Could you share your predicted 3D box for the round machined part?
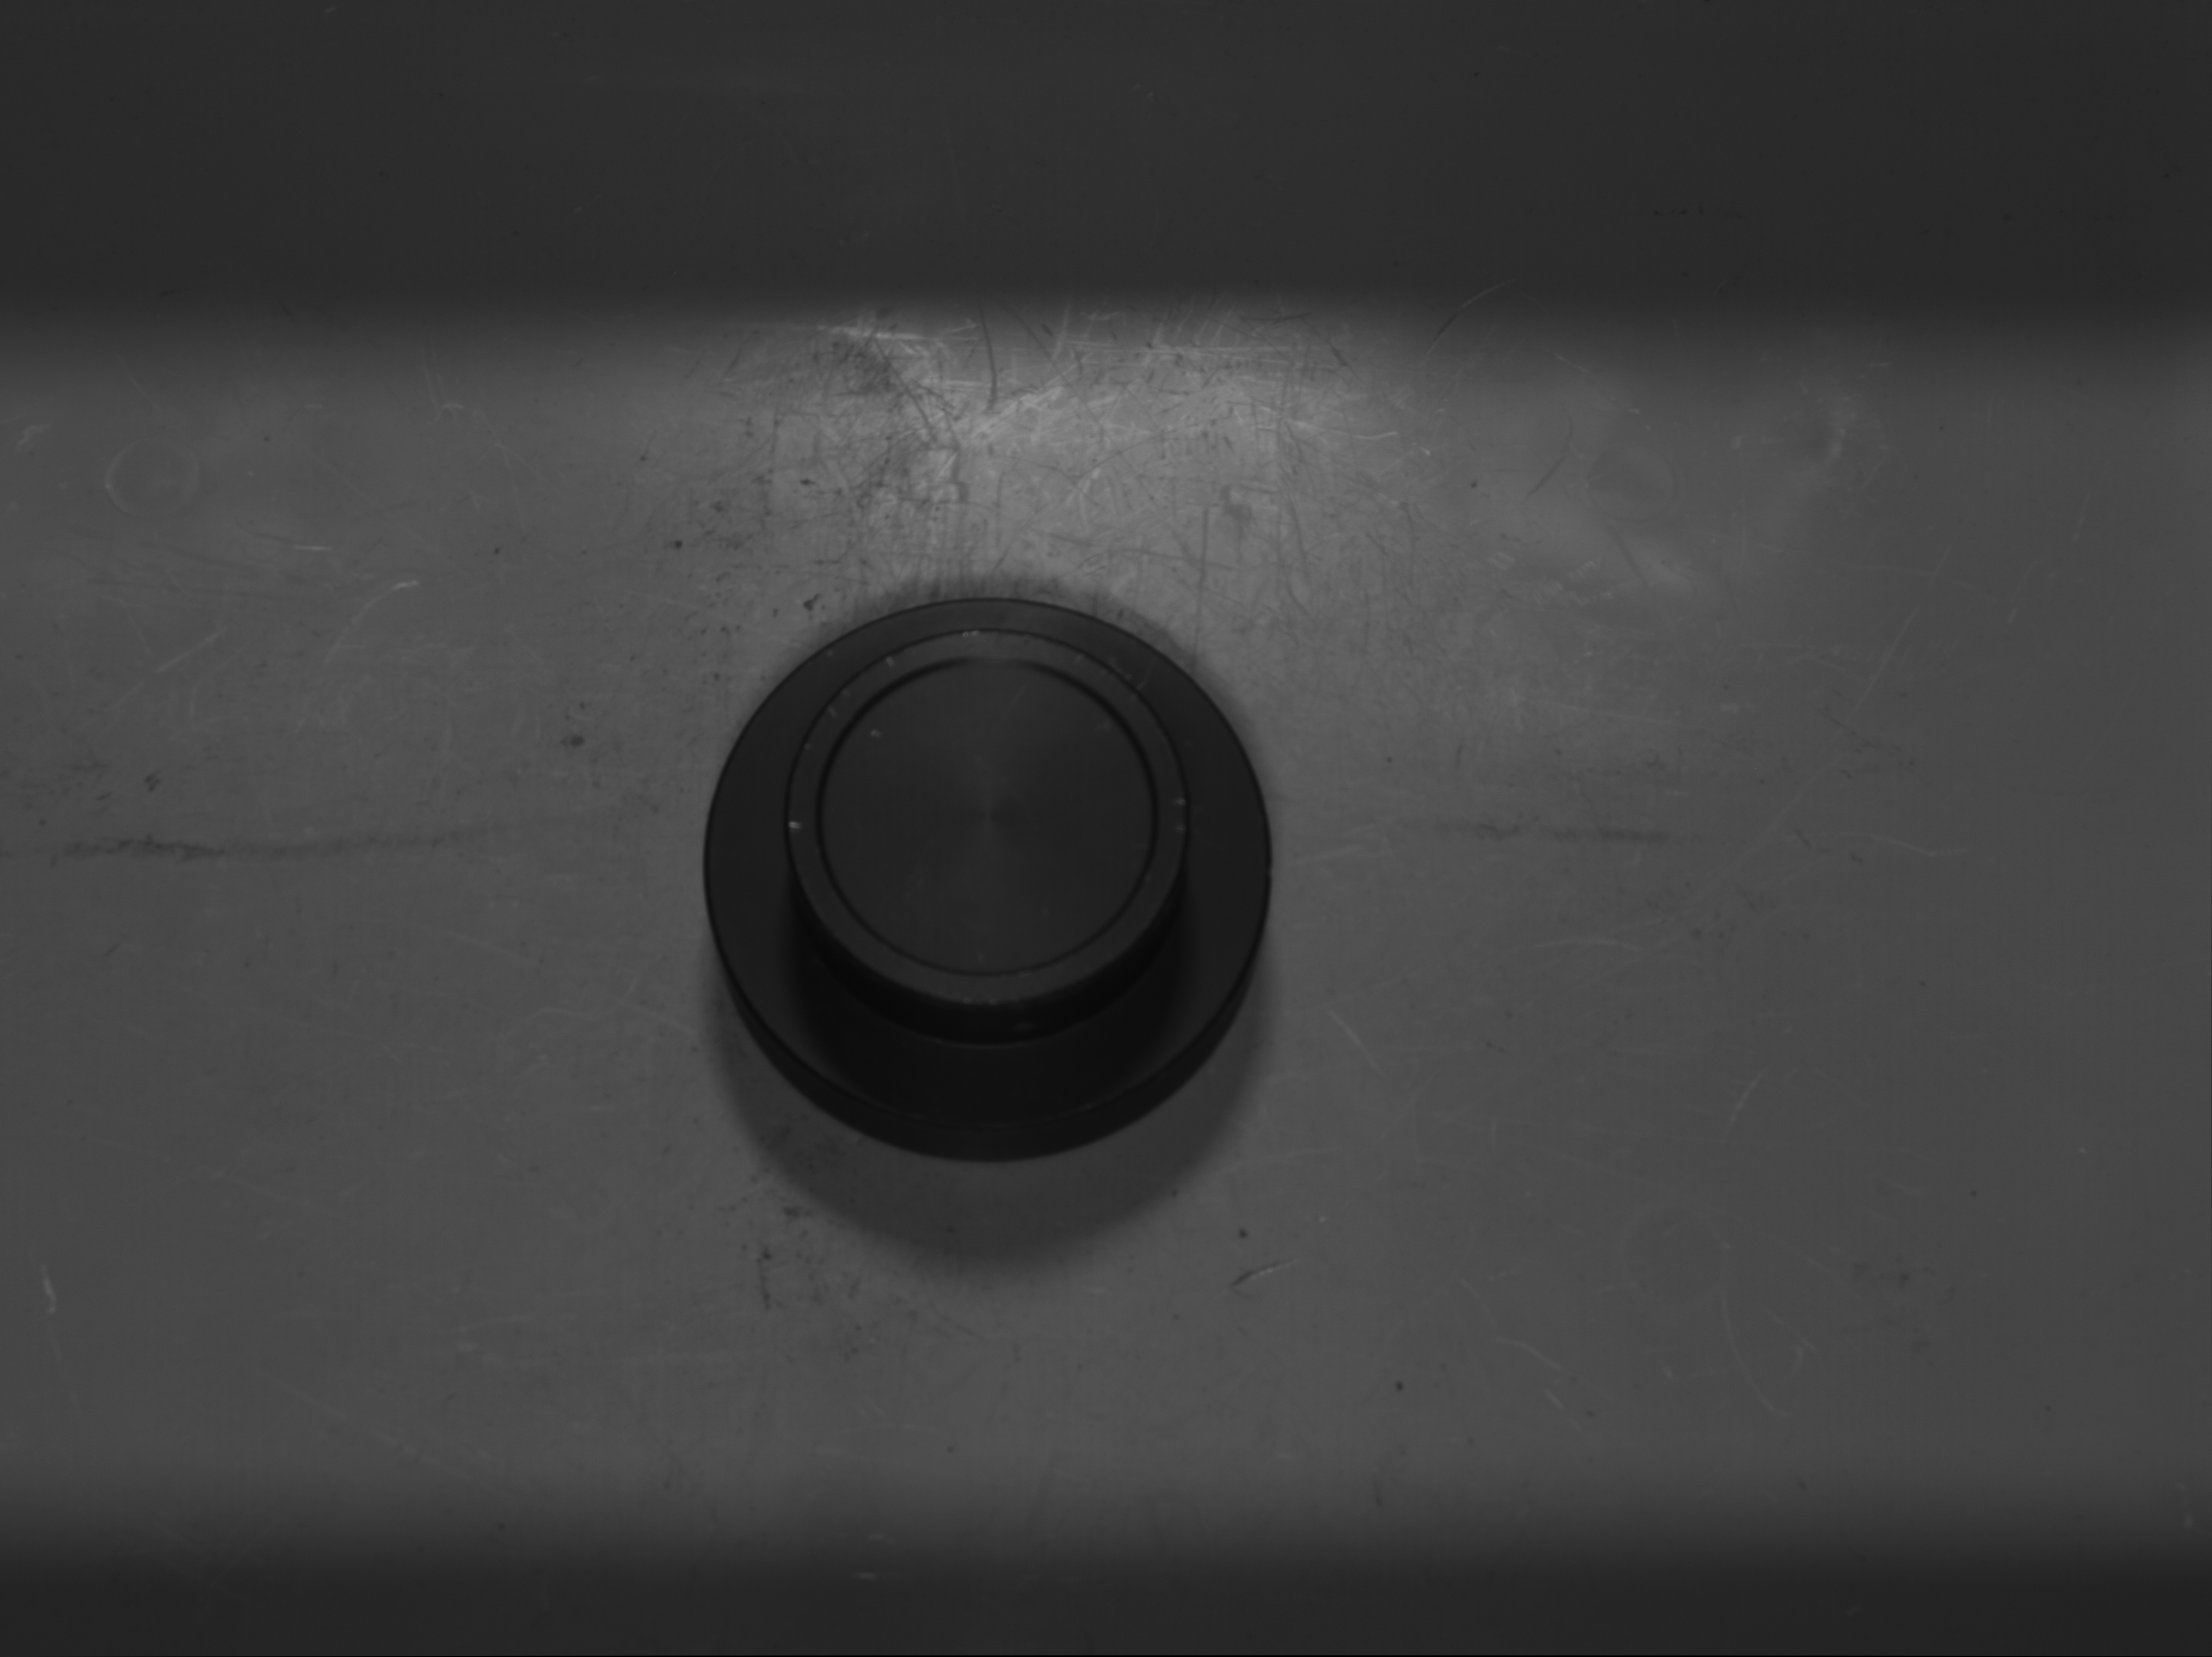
[{"bbox_3d":[-0.011,0.005,0.631,0.098,0.042,0.098,0,70,0],"label":"round machined part"}]
